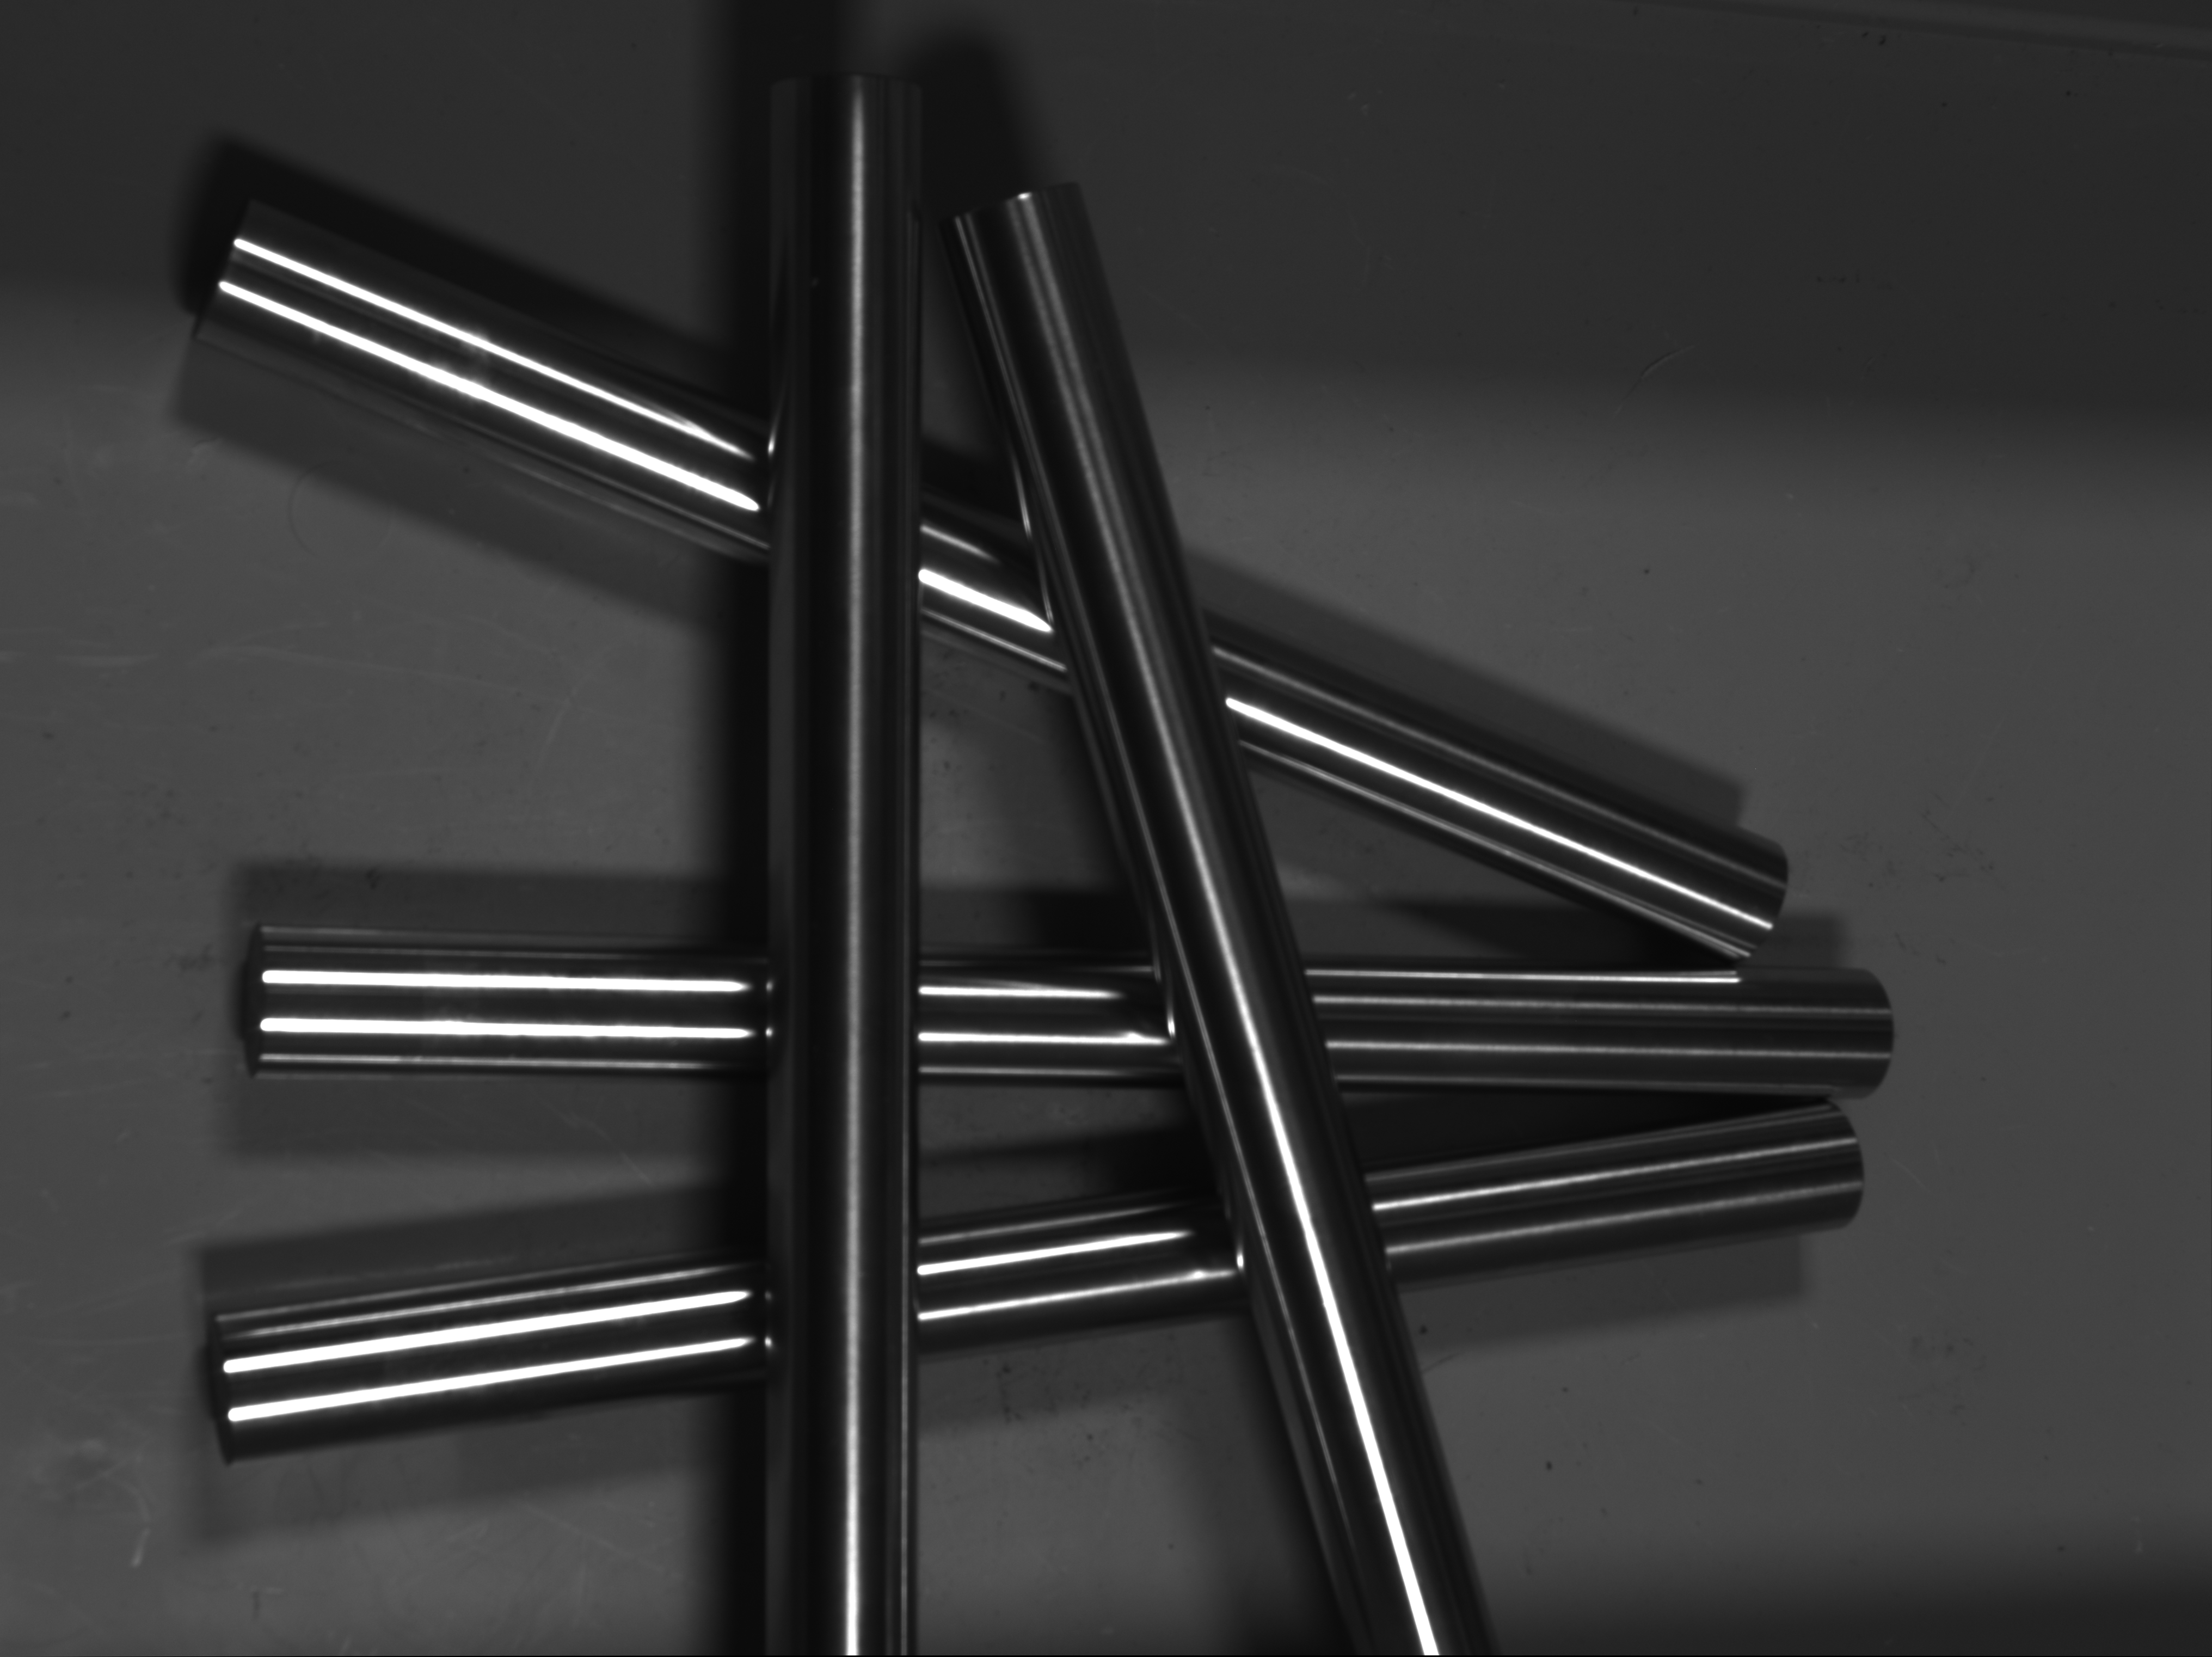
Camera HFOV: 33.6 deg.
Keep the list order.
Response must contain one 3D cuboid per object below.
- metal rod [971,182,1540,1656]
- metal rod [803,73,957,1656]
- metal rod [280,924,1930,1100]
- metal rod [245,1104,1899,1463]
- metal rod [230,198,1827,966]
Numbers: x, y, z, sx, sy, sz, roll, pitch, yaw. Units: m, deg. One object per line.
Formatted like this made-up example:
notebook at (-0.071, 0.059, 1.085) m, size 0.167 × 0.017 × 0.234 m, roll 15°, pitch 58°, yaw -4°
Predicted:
metal rod at (0.032, 0.039, 0.627) m, size 0.025 × 0.025 × 0.300 m, roll -18°, pitch 96°, yaw -19°
metal rod at (-0.037, 0.029, 0.601) m, size 0.025 × 0.025 × 0.300 m, roll 0°, pitch 90°, yaw -20°
metal rod at (0.009, 0.034, 0.645) m, size 0.301 × 0.025 × 0.025 m, roll 2°, pitch 89°, yaw -20°
metal rod at (0.003, 0.077, 0.643) m, size 0.301 × 0.025 × 0.025 m, roll -5°, pitch 92°, yaw -20°
metal rod at (-0.004, -0.038, 0.640) m, size 0.301 × 0.025 × 0.025 m, roll 22°, pitch 83°, yaw -19°
